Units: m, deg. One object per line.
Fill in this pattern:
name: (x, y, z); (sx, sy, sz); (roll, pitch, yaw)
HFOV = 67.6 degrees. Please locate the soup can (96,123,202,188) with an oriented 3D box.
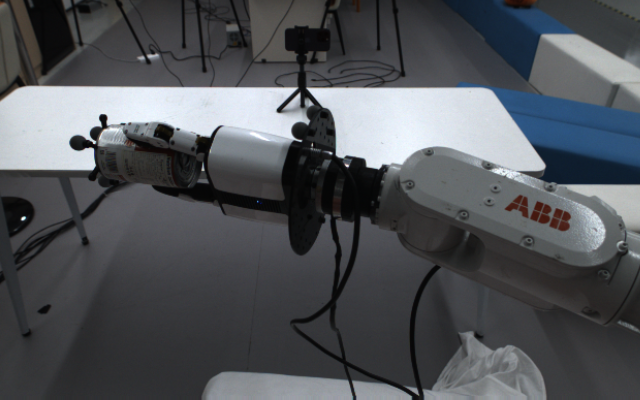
soup can: (-0.196, -0.050, 0.566); (0.101, 0.067, 0.067); (7, 35, 10)
